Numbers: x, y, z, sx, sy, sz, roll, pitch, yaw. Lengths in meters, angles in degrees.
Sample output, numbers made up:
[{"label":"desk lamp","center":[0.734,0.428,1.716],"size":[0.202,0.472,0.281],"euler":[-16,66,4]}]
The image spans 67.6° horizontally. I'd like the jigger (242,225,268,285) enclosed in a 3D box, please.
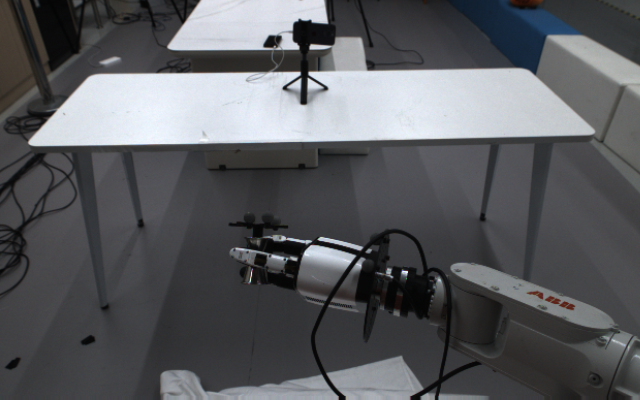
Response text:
[{"label":"jigger","center":[-0.093,0.088,0.714],"size":[0.043,0.071,0.043],"euler":[2,-6,0]}]
